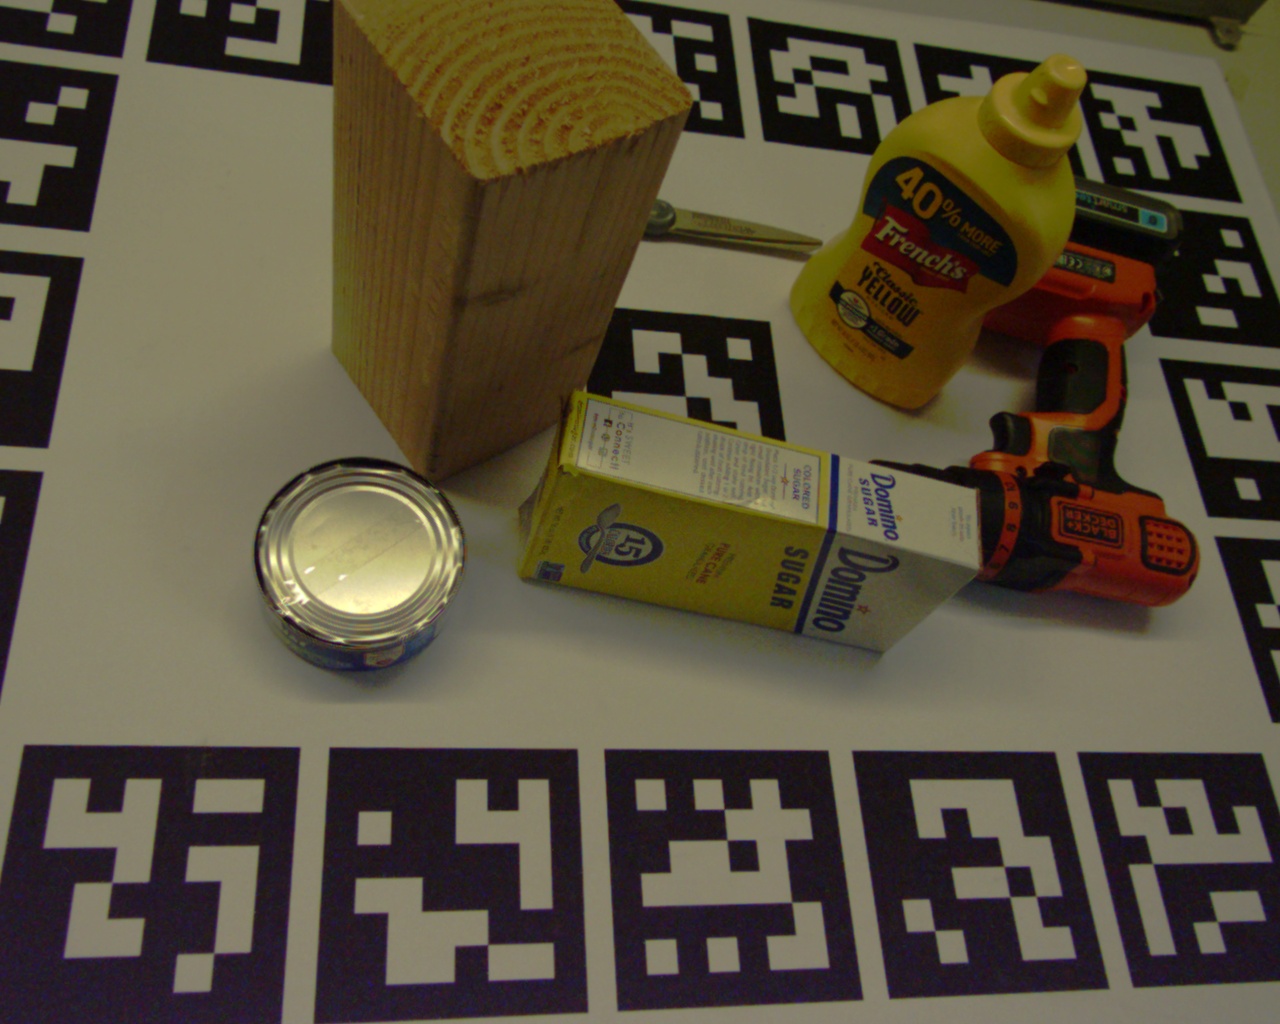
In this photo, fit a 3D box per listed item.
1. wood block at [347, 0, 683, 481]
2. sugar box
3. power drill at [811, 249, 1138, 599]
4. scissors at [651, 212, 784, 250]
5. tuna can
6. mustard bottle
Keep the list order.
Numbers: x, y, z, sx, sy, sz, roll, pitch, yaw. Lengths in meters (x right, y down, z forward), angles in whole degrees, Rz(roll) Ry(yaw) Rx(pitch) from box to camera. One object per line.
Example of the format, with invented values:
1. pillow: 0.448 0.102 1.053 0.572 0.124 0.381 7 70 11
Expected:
1. wood block: -0.067 -0.106 0.495 0.090 0.207 0.090 -26 76 -24
2. sugar box: 0.047 0.010 0.524 0.175 0.093 0.045 14 60 -9
3. power drill: 0.176 -0.056 0.605 0.184 0.057 0.187 15 70 -7
4. scissors: -0.016 -0.159 0.629 0.201 0.016 0.088 4 61 -12
5. tuna can: -0.118 0.021 0.506 0.085 0.034 0.086 5 65 -13
6. mustard bottle: 0.141 -0.129 0.564 0.058 0.192 0.096 -38 81 -26
